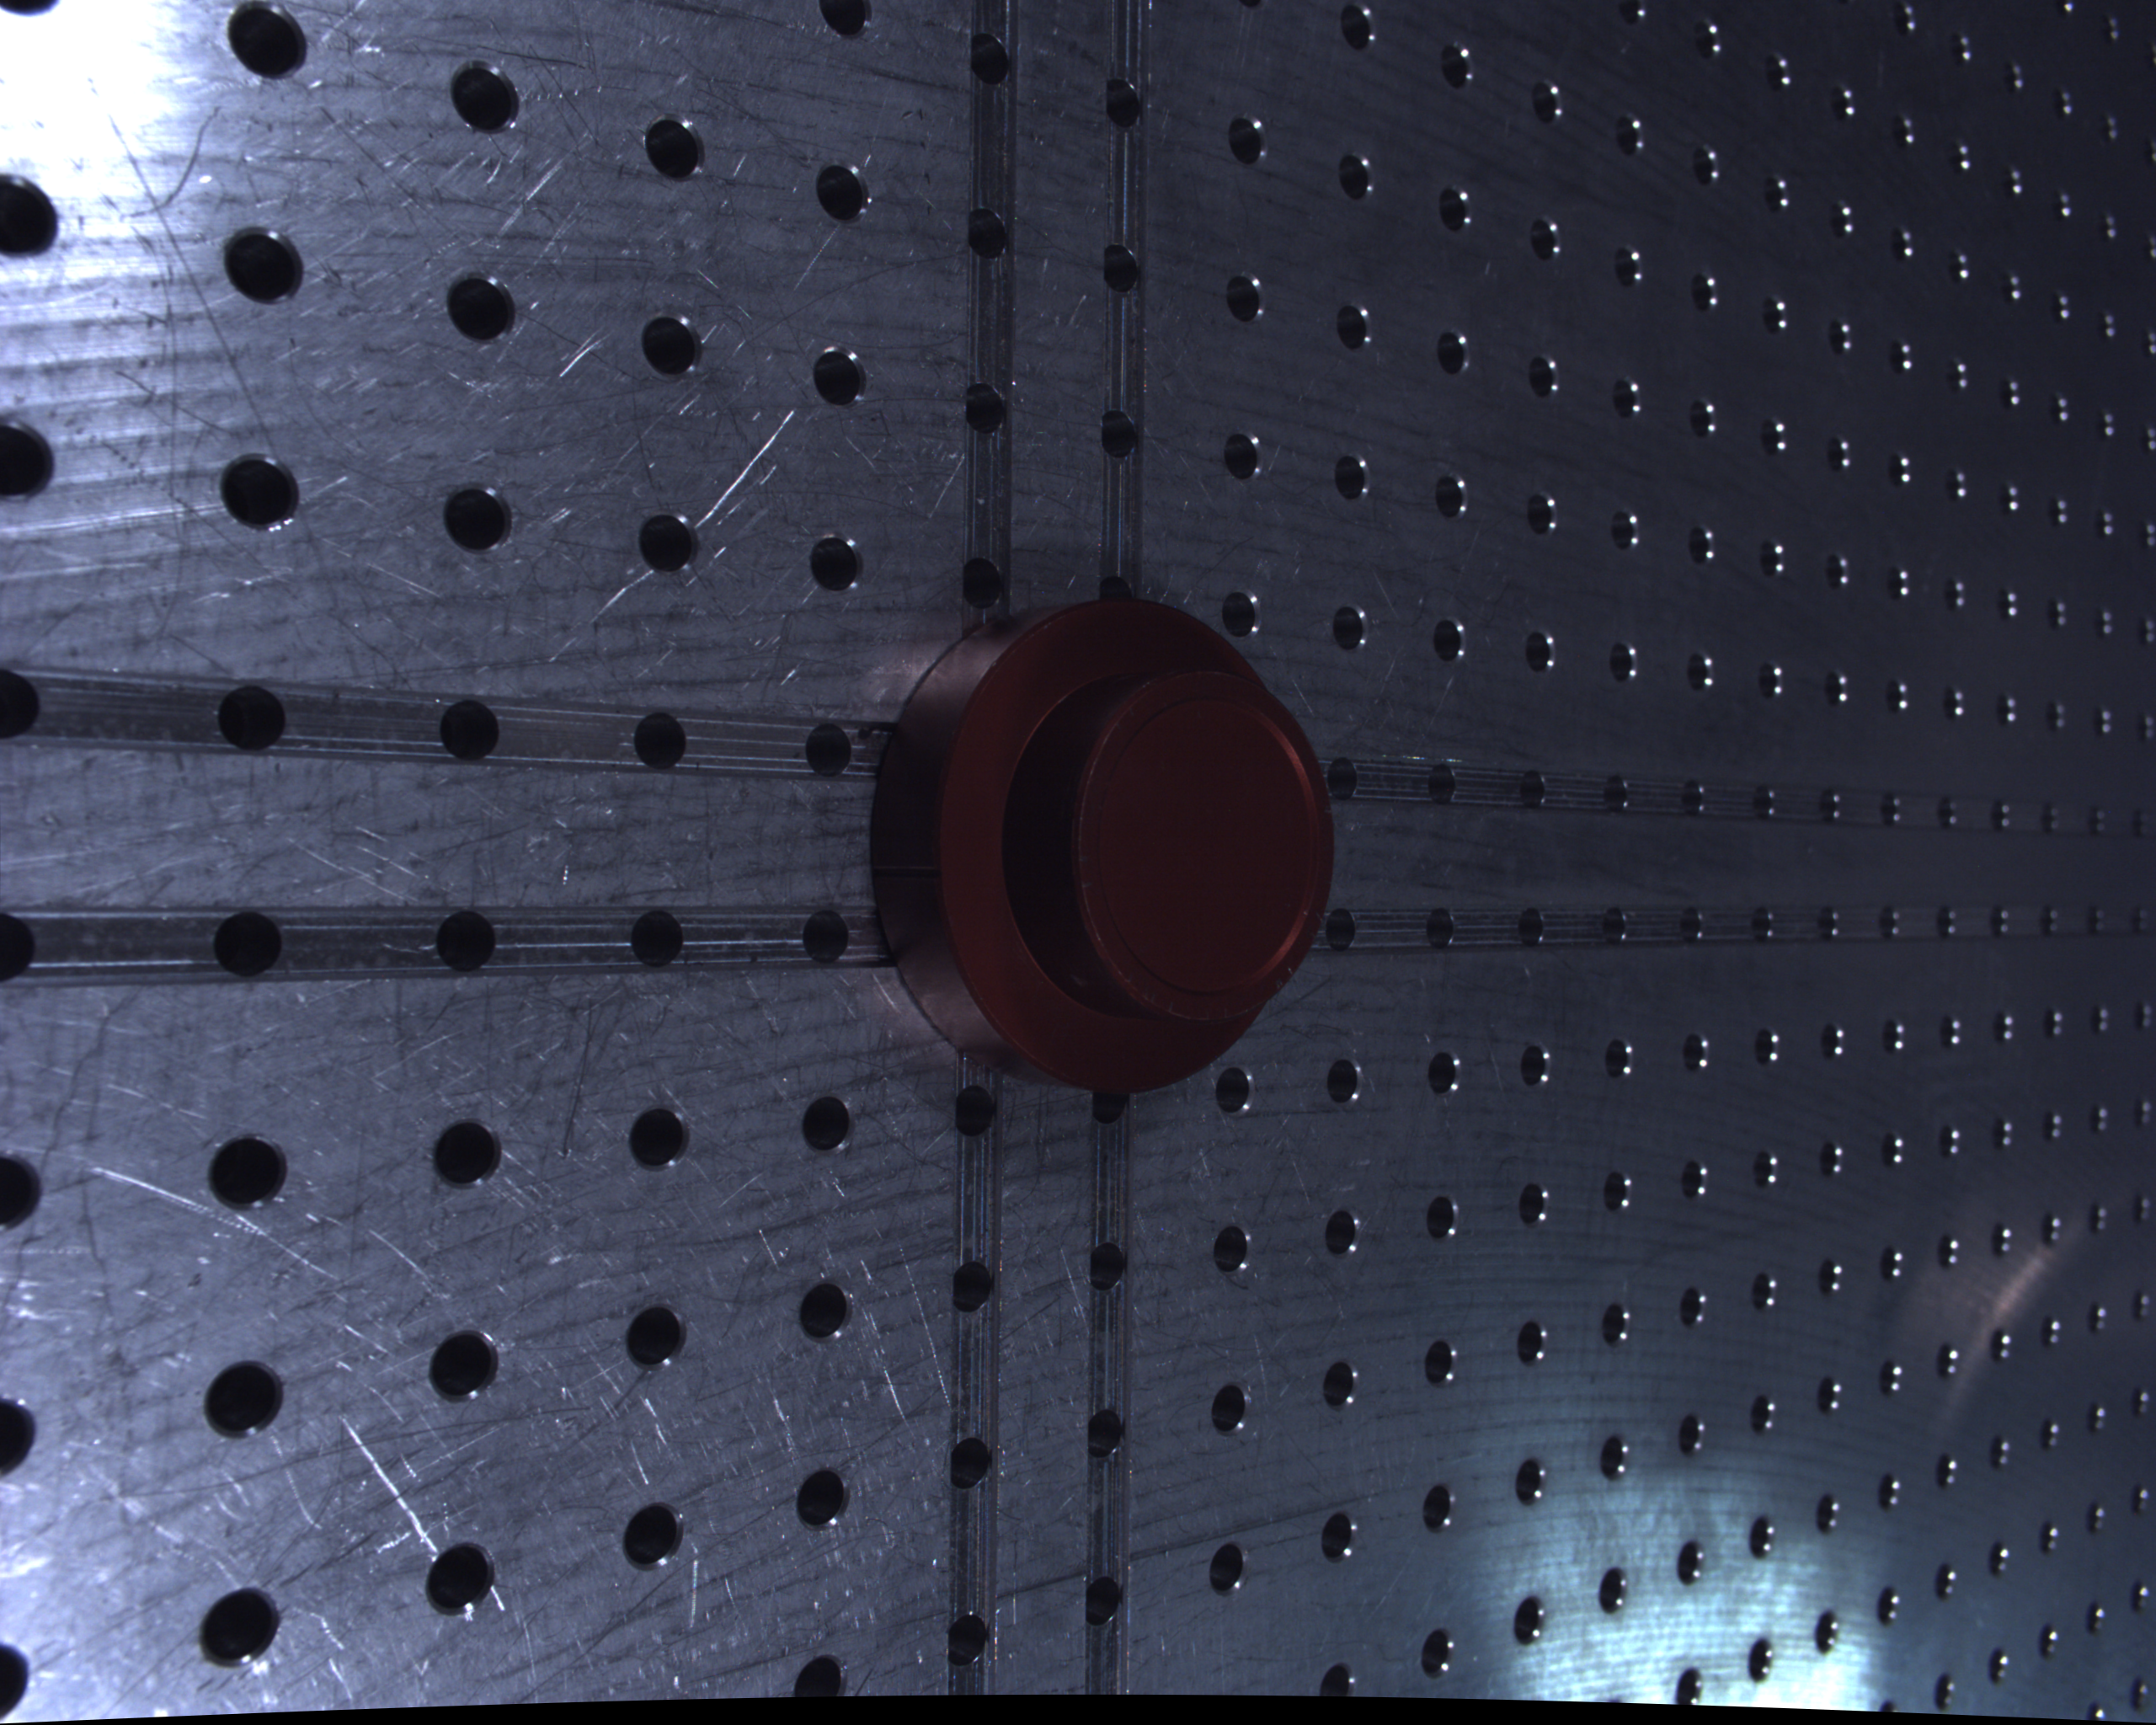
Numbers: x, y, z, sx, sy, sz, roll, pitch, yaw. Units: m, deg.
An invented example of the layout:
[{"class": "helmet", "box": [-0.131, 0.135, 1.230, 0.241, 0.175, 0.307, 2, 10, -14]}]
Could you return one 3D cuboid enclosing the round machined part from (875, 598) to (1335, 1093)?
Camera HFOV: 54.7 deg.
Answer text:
[{"class": "round machined part", "box": [0.012, -0.003, 0.410, 0.099, 0.042, 0.097, 0, 90, -40]}]
